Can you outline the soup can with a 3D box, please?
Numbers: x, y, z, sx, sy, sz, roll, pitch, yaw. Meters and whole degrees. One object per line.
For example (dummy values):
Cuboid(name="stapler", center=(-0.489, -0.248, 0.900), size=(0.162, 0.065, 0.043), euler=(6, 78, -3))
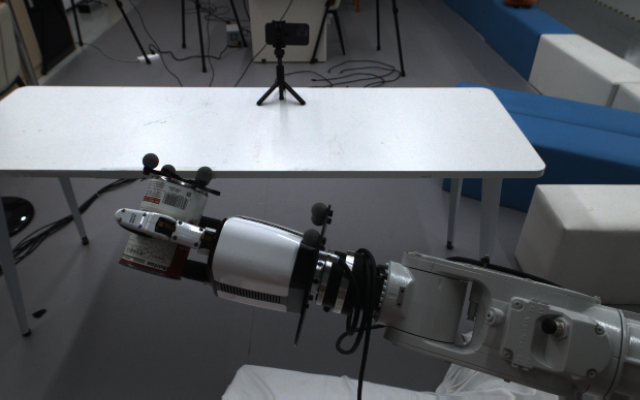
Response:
Cuboid(name="soup can", center=(-0.170, 0.032, 0.538), size=(0.067, 0.067, 0.101), euler=(13, 78, 15))
